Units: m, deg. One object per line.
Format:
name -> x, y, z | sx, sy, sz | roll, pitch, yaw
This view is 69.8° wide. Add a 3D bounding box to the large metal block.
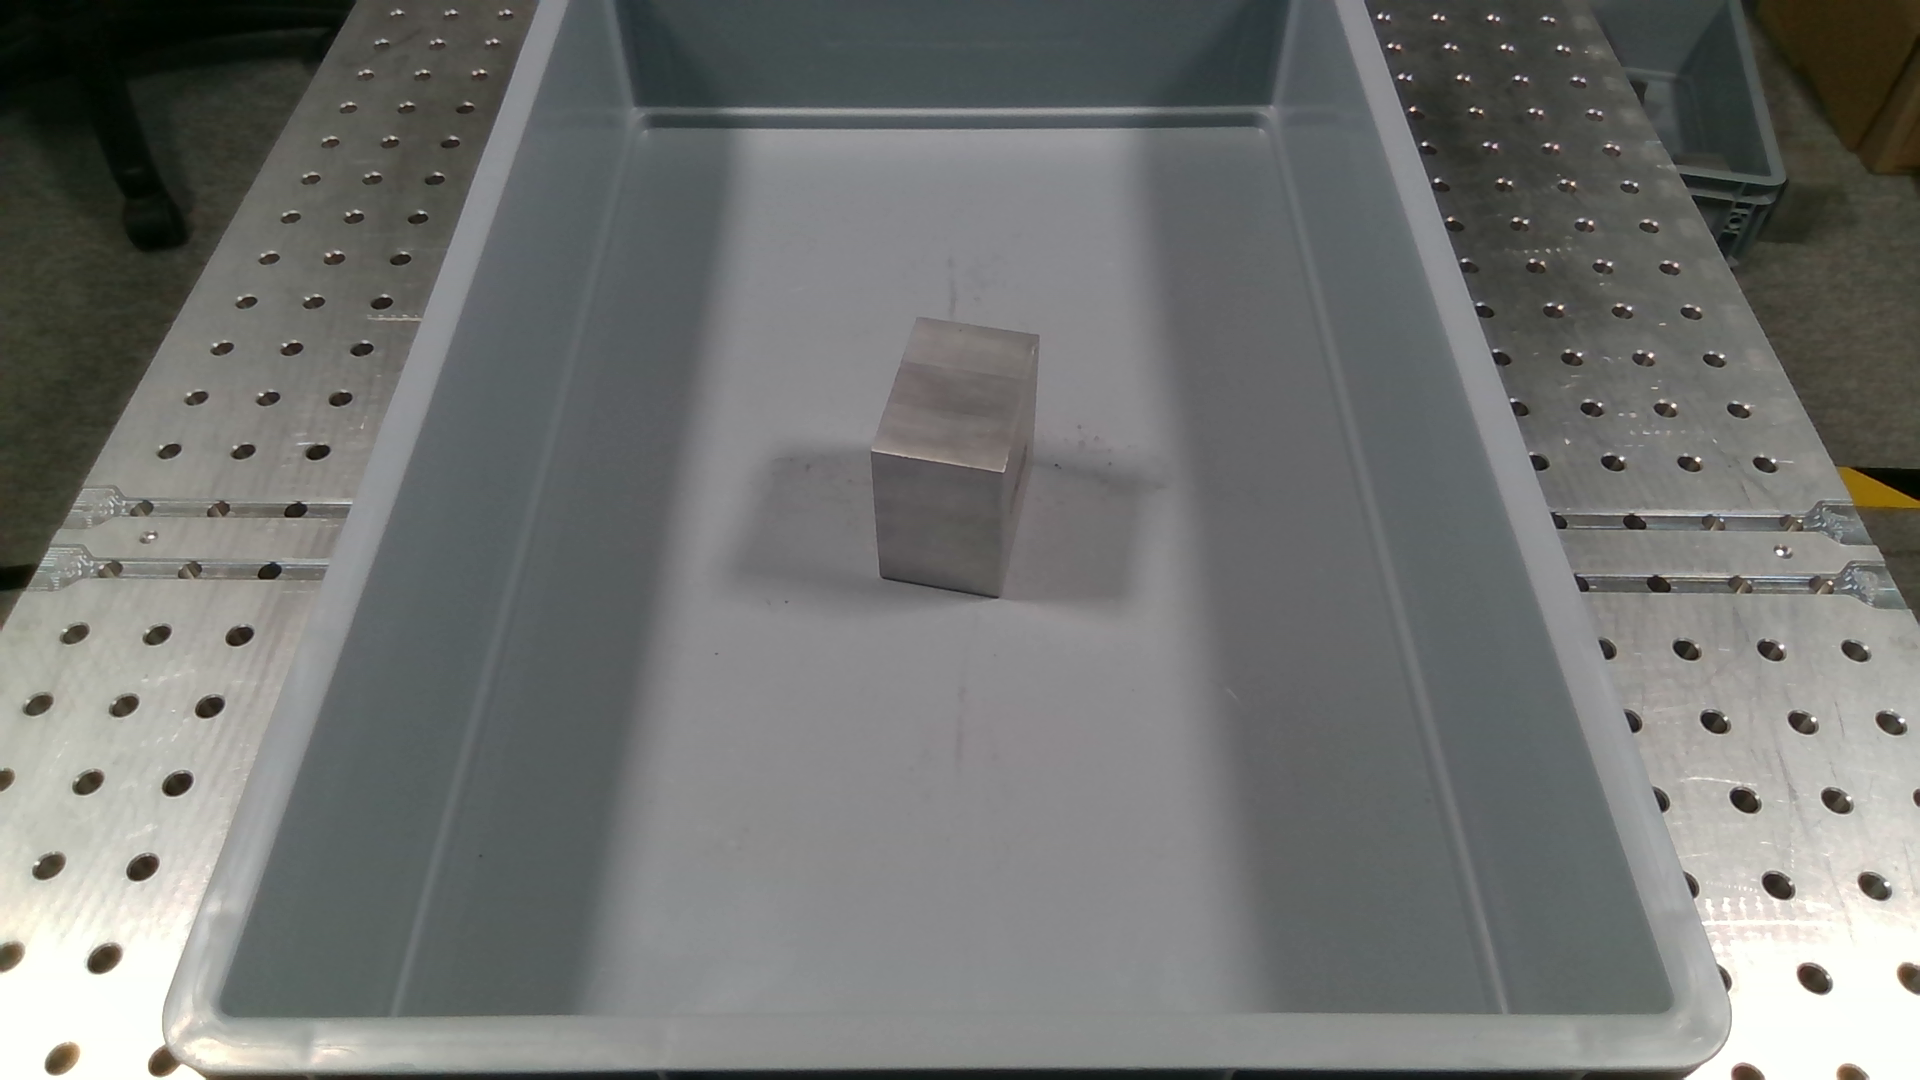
large metal block -> -0.001, -0.034, 0.577 | 0.050, 0.080, 0.080 | 9, 51, 8
